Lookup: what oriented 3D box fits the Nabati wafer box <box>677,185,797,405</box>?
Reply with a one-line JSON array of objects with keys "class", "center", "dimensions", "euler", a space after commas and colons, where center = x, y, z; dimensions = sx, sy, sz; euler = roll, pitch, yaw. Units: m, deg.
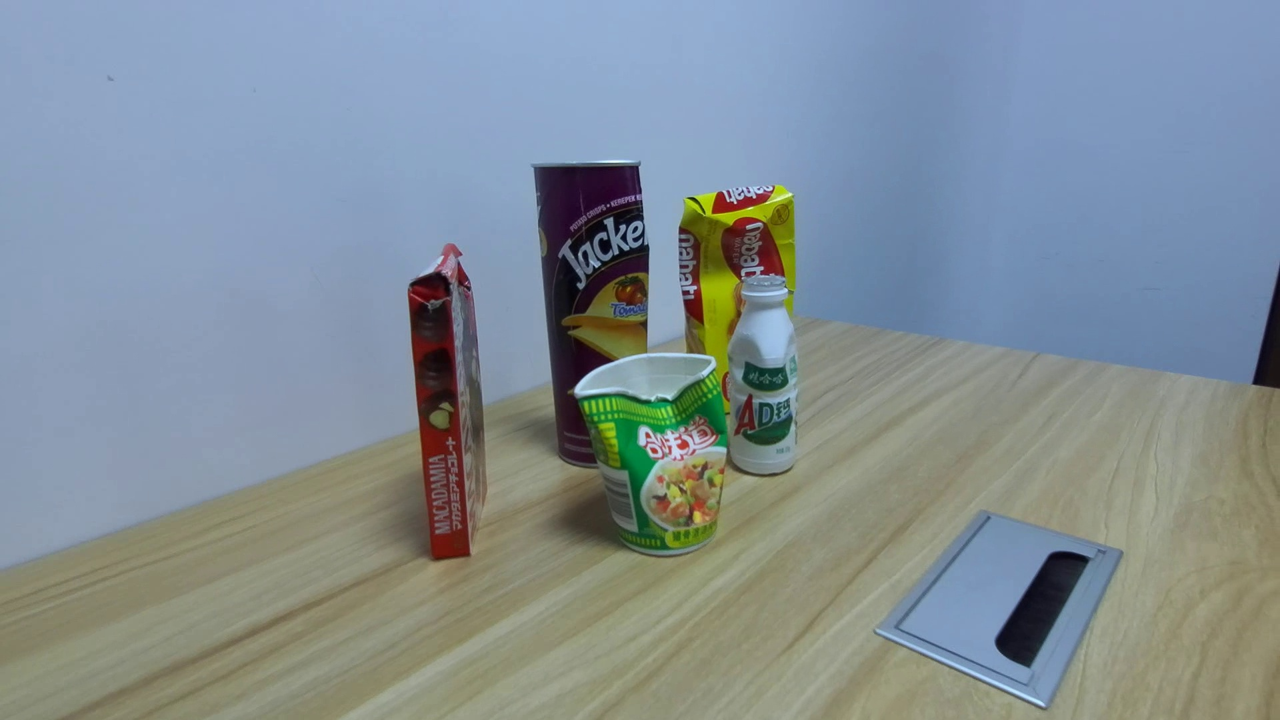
[{"class": "Nabati wafer box", "center": [0.088, -0.051, 0.644], "dimensions": [0.107, 0.204, 0.042], "euler": [-9, 18, -22]}]

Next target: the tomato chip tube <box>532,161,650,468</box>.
[{"class": "tomato chip tube", "center": [-0.035, -0.036, 0.564], "dimensions": [0.076, 0.235, 0.077], "euler": [-7, 16, -14]}]

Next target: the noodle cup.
[{"class": "noodle cup", "center": [0.016, 0.058, 0.455], "dimensions": [0.082, 0.122, 0.075], "euler": [-10, 9, 9]}]

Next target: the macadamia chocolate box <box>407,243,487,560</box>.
[{"class": "macadamia chocolate box", "center": [-0.123, 0.023, 0.465], "dimensions": [0.027, 0.187, 0.102], "euler": [-1, 18, -6]}]

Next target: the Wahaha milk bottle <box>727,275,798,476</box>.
[{"class": "Wahaha milk bottle", "center": [0.092, 0.012, 0.532], "dimensions": [0.055, 0.149, 0.055], "euler": [-2, 20, 1]}]
